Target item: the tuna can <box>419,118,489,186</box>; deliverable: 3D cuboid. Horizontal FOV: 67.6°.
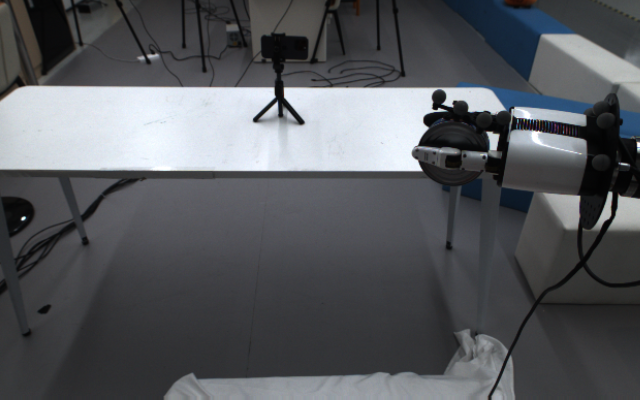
[{"bbox_3d":[0.171,-0.064,0.614,0.085,0.085,0.034,16,28,19],"label":"tuna can"}]
